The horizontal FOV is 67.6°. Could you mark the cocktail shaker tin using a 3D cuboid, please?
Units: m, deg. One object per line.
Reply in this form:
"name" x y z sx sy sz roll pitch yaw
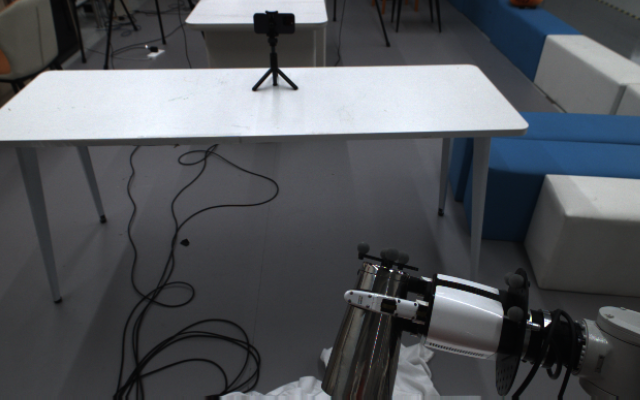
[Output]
"cocktail shaker tin" 0.068 0.170 0.638 0.093 0.170 0.093 15 -5 1
